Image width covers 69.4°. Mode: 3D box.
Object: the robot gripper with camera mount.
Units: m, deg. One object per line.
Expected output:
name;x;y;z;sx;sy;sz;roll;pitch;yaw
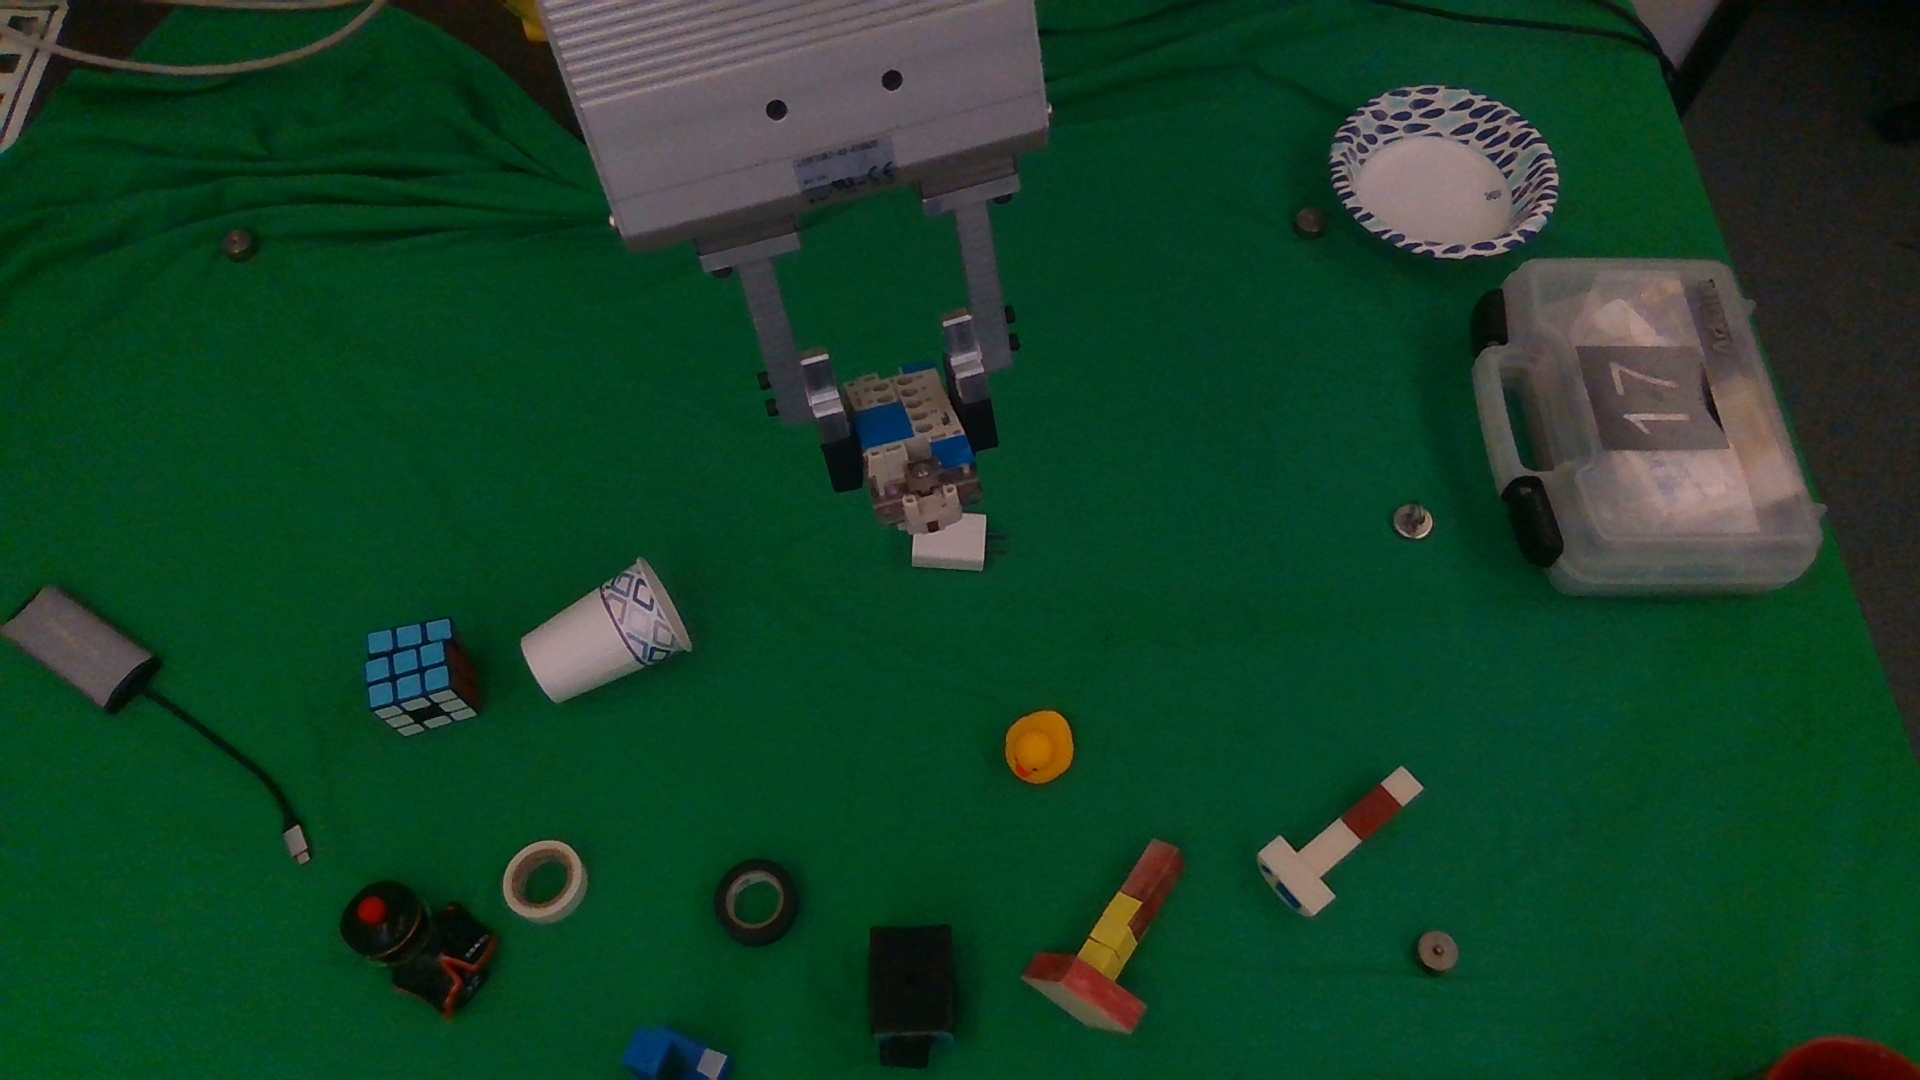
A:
robot gripper with camera mount;-0.052;-0.137;0.454;0.119;0.158;0.194;-17;41;-6

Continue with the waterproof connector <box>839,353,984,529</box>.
waterproof connector;-0.017;-0.031;0.443;0.035;0.037;0.065;-15;44;-10
